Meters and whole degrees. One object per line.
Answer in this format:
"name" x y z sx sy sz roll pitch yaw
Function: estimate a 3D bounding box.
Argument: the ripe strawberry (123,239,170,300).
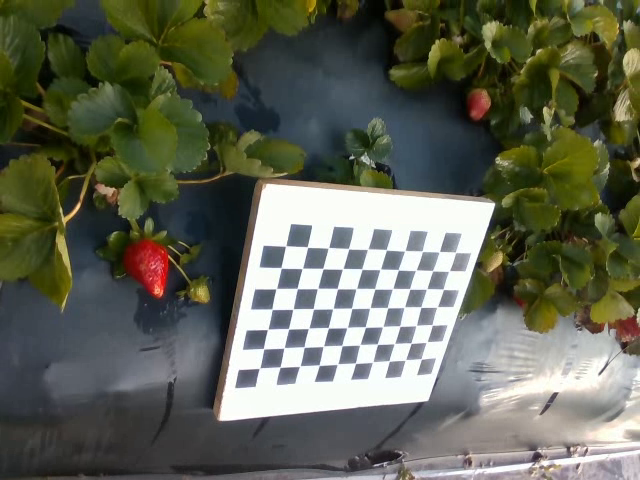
"ripe strawberry" -0.157 0.030 0.552 0.043 0.057 0.052 -19 -30 -12
